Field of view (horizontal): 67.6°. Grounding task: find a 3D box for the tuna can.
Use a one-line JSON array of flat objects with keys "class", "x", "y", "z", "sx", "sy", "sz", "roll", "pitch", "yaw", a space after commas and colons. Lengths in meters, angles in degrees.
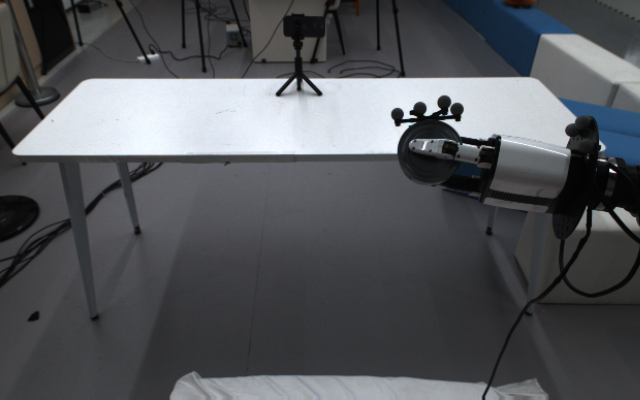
[{"class": "tuna can", "x": 0.149, "y": -0.064, "z": 0.657, "sx": 0.085, "sy": 0.085, "sz": 0.034, "roll": 10, "pitch": -6, "yaw": 11}]
